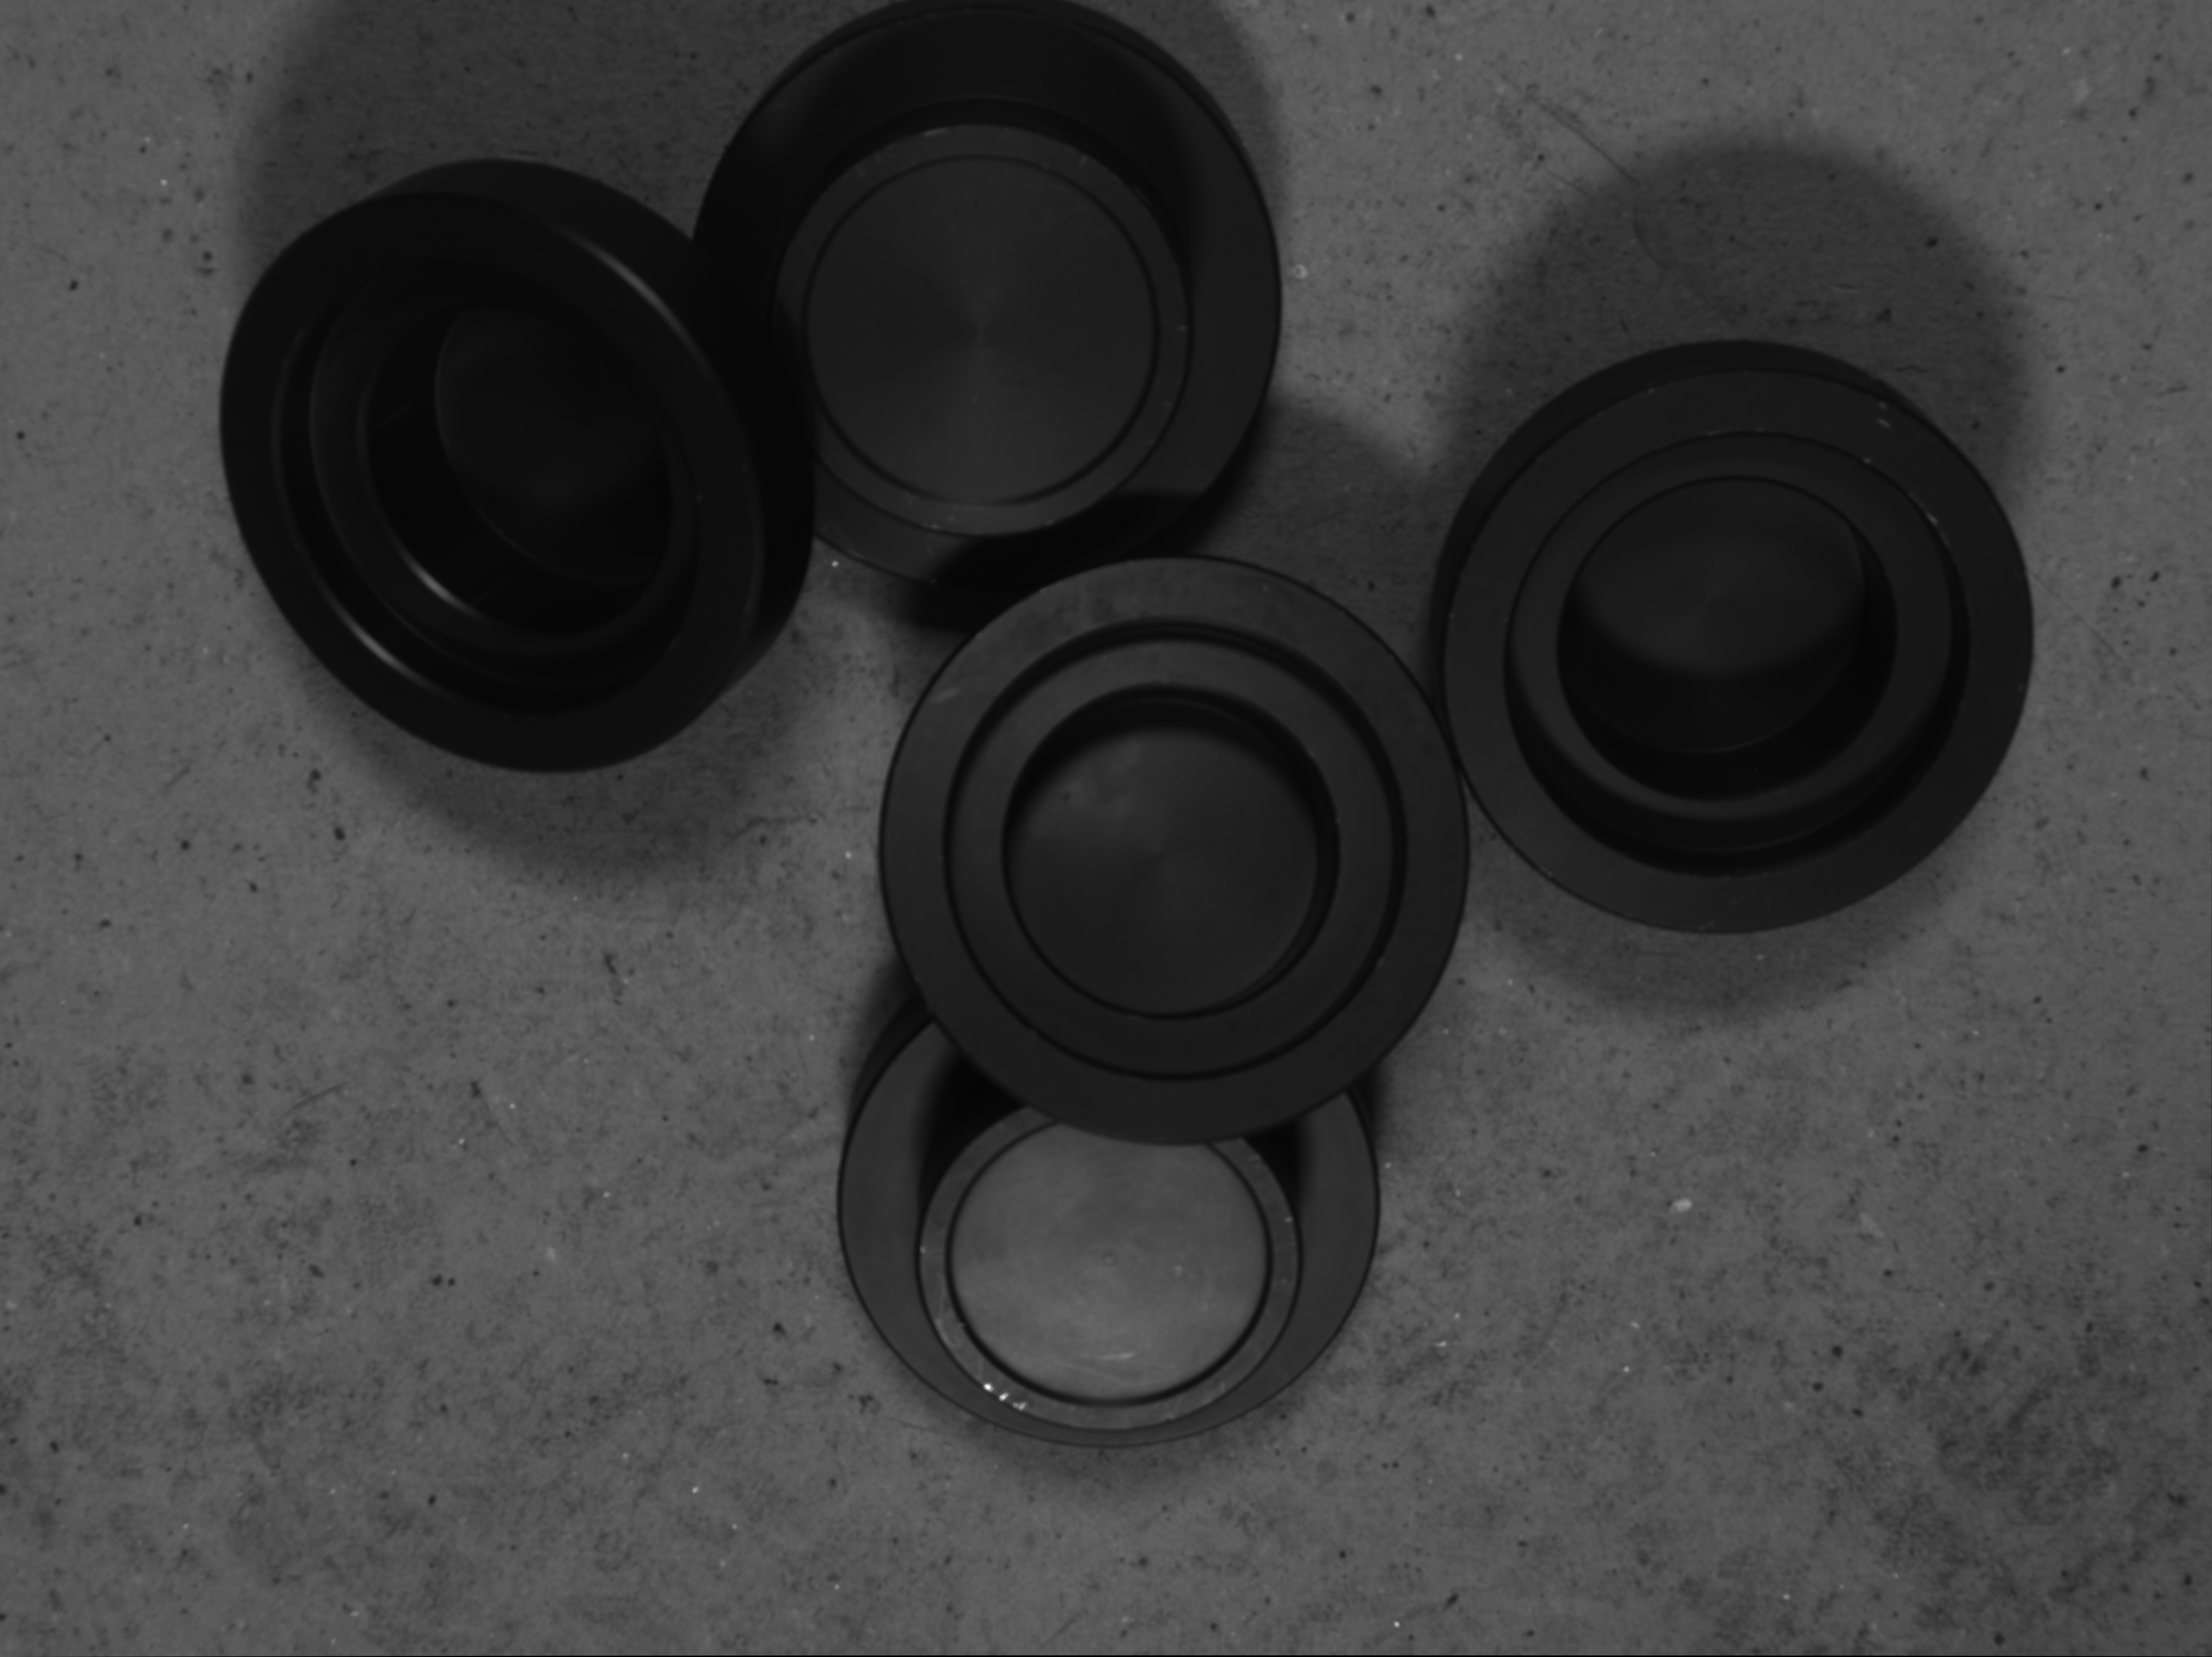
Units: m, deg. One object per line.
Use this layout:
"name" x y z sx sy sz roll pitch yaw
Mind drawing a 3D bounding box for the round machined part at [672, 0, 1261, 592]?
"round machined part" -0.023 -0.086 0.602 0.098 0.042 0.098 0 110 -1

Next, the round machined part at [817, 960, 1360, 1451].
"round machined part" -0.003 0.069 0.659 0.098 0.042 0.098 0 110 -1

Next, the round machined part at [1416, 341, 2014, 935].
"round machined part" 0.101 -0.035 0.623 0.098 0.042 0.098 0 110 -1

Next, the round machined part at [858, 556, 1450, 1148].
"round machined part" 0.007 0.005 0.625 0.098 0.042 0.098 0 87 -3

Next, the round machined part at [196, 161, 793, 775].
"round machined part" -0.095 -0.062 0.599 0.098 0.042 0.098 10 119 18
